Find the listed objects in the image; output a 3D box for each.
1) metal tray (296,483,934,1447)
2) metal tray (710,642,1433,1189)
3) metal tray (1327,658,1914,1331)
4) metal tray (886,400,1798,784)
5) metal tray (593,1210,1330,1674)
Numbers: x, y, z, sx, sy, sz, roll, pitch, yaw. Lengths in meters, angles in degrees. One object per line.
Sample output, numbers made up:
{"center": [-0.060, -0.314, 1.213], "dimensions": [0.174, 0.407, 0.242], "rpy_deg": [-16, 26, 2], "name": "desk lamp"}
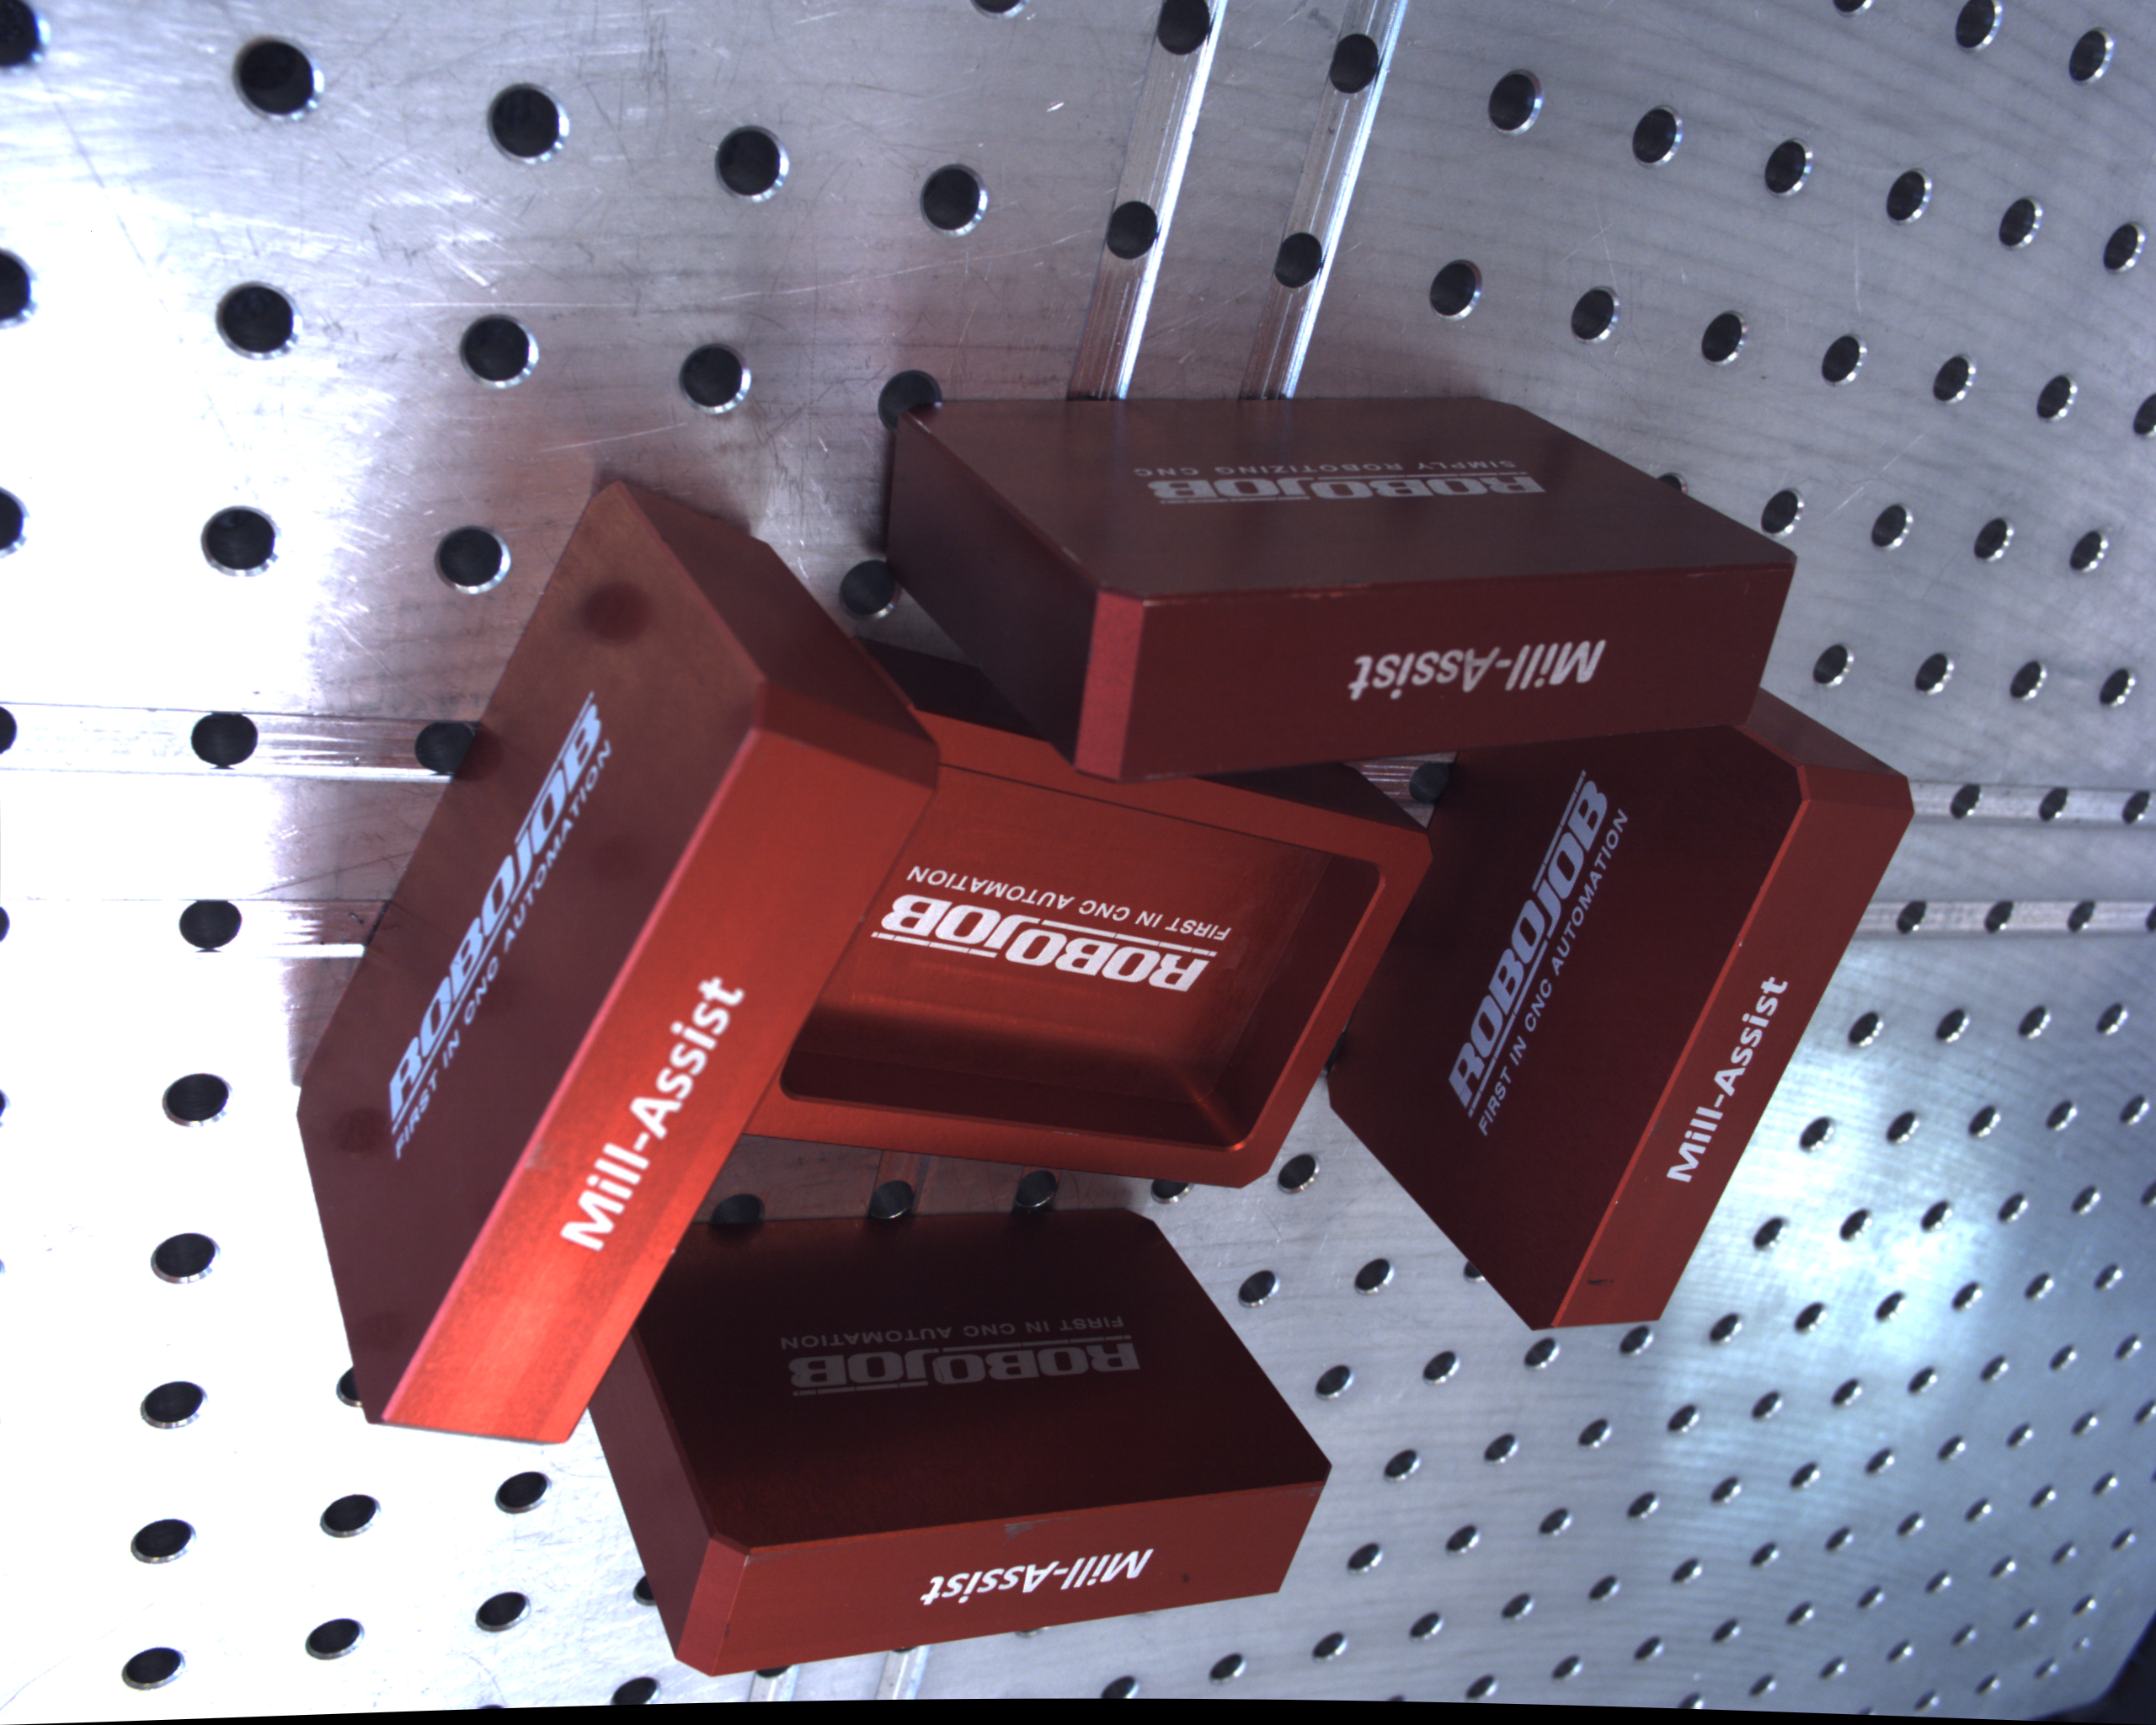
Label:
{"center": [-0.080, 0.015, 0.334], "dimensions": [0.030, 0.090, 0.129], "rpy_deg": [20, 108, -35], "name": "metal tray"}
{"center": [-0.002, 0.015, 0.414], "dimensions": [0.131, 0.030, 0.089], "rpy_deg": [12, 112, -34], "name": "metal tray"}
{"center": [0.107, 0.021, 0.439], "dimensions": [0.030, 0.090, 0.129], "rpy_deg": [4, 116, -31], "name": "metal tray"}
{"center": [0.043, -0.051, 0.360], "dimensions": [0.131, 0.090, 0.030], "rpy_deg": [-6, 121, -25], "name": "metal tray"}
{"center": [-0.027, 0.111, 0.423], "dimensions": [0.131, 0.090, 0.030], "rpy_deg": [4, 117, -30], "name": "metal tray"}
